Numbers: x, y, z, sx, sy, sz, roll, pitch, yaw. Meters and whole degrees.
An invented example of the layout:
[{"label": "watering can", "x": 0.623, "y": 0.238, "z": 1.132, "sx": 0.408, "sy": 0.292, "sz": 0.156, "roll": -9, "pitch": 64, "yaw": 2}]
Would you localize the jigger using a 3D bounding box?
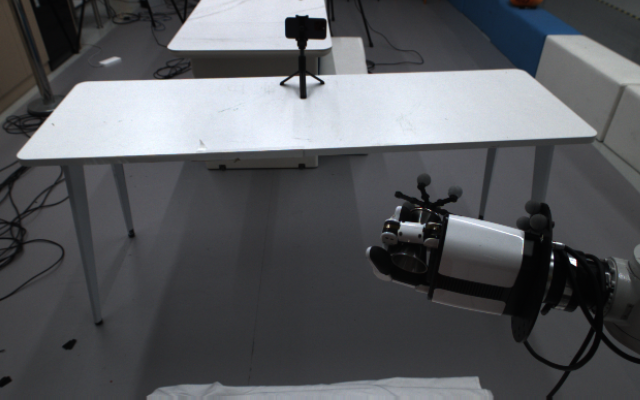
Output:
[{"label": "jigger", "x": 0.118, "y": 0.045, "z": 0.580, "sx": 0.043, "sy": 0.043, "sz": 0.071, "roll": 16, "pitch": 59, "yaw": 19}]
